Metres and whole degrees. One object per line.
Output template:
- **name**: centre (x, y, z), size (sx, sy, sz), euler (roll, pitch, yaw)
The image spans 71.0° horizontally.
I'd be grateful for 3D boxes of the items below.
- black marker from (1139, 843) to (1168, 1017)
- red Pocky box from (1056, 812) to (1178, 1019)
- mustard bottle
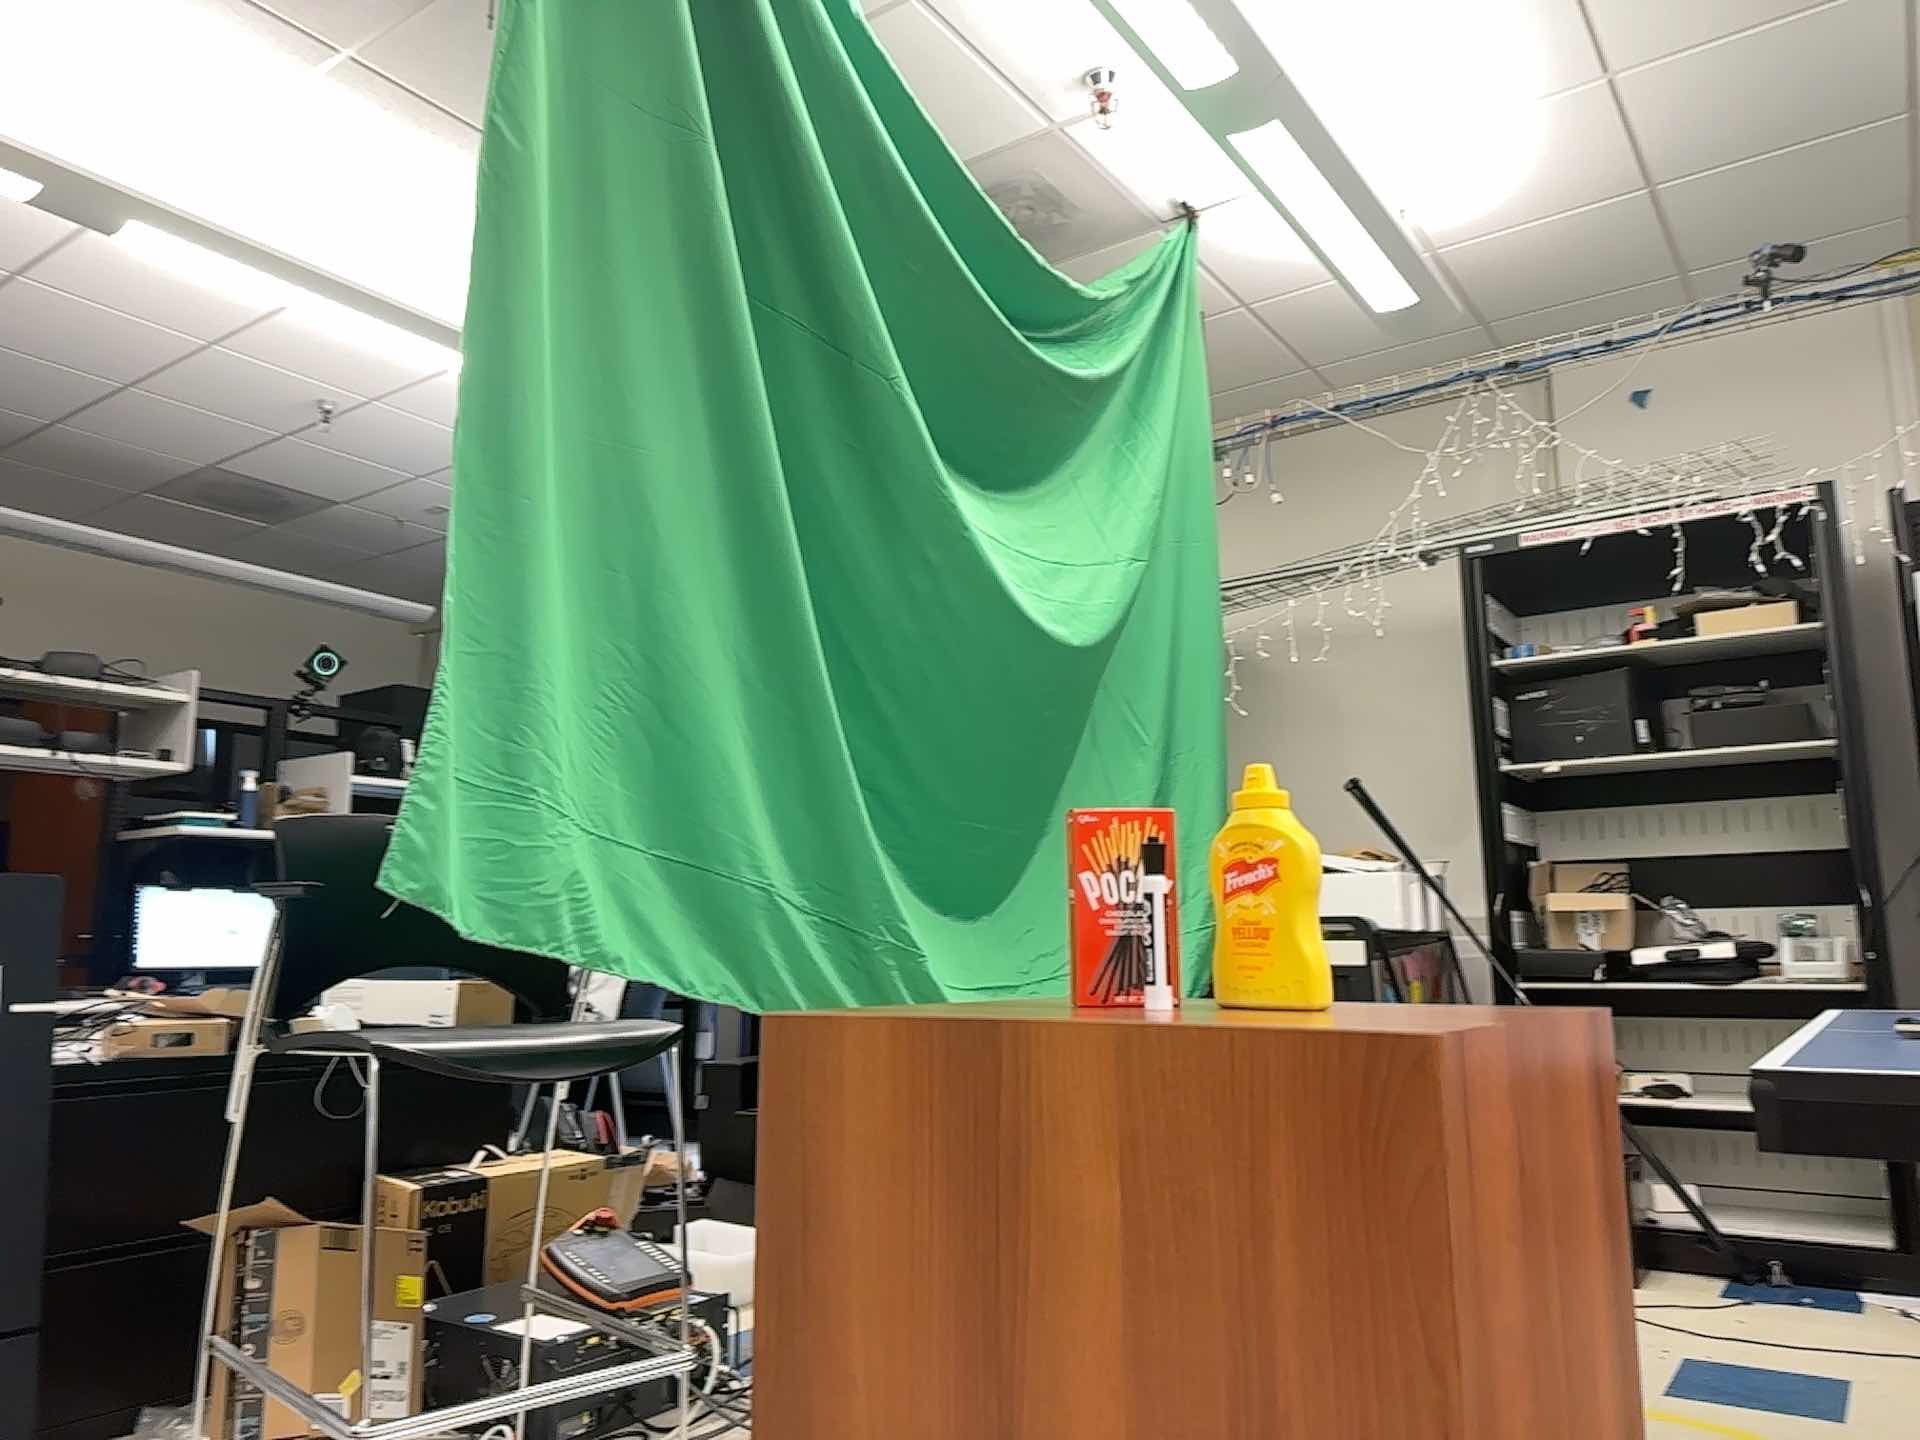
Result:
- **black marker**: centre (0.137, 0.147, 0.952), size (0.020, 0.121, 0.020), euler (1, -11, 0)
- **red Pocky box**: centre (0.118, 0.148, 1.028), size (0.083, 0.155, 0.028), euler (-2, -7, -1)
- **mustard bottle**: centre (0.222, 0.124, 0.991), size (0.054, 0.184, 0.092), euler (3, -10, -35)
